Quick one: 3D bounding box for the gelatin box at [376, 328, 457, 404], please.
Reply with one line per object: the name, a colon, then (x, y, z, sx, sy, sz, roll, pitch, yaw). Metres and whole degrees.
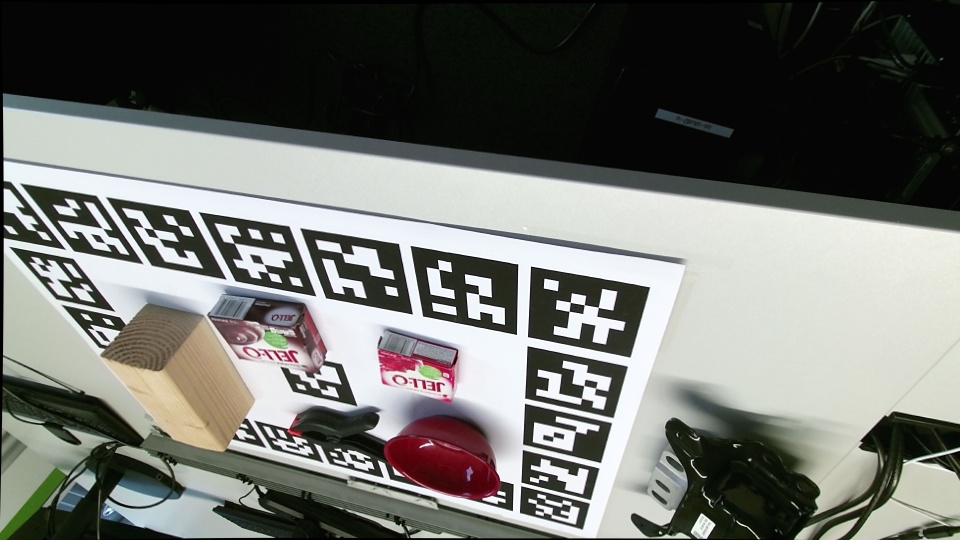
gelatin box: (-0.073, 0.111, 0.610, 0.089, 0.030, 0.073, 15, 133, 6)

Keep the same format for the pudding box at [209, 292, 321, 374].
pudding box: (-0.255, 0.075, 0.638, 0.114, 0.038, 0.090, 7, 130, 11)

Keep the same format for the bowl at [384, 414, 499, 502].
bowl: (-0.046, 0.244, 0.717, 0.162, 0.055, 0.162, 10, 131, 12)

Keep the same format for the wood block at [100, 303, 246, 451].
wood block: (-0.413, 0.153, 0.731, 0.090, 0.090, 0.206, 12, 134, 11)

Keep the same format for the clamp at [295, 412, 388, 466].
clamp: (-0.199, 0.242, 0.787, 0.165, 0.036, 0.122, 2, 132, 21)
